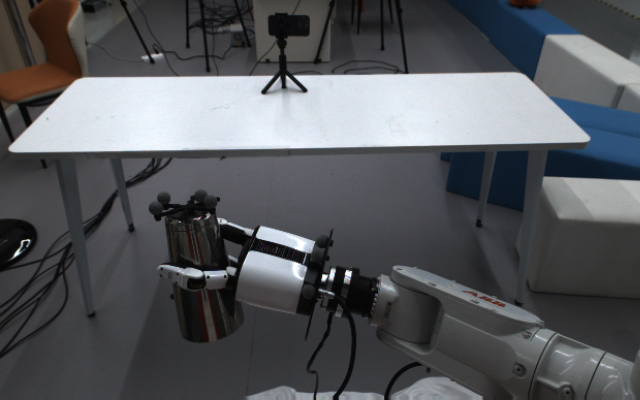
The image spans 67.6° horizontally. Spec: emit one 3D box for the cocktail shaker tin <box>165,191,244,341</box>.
[{"bbox_3d":[-0.163,0.098,0.663,0.093,0.170,0.093,-6,19,2],"label":"cocktail shaker tin"}]
